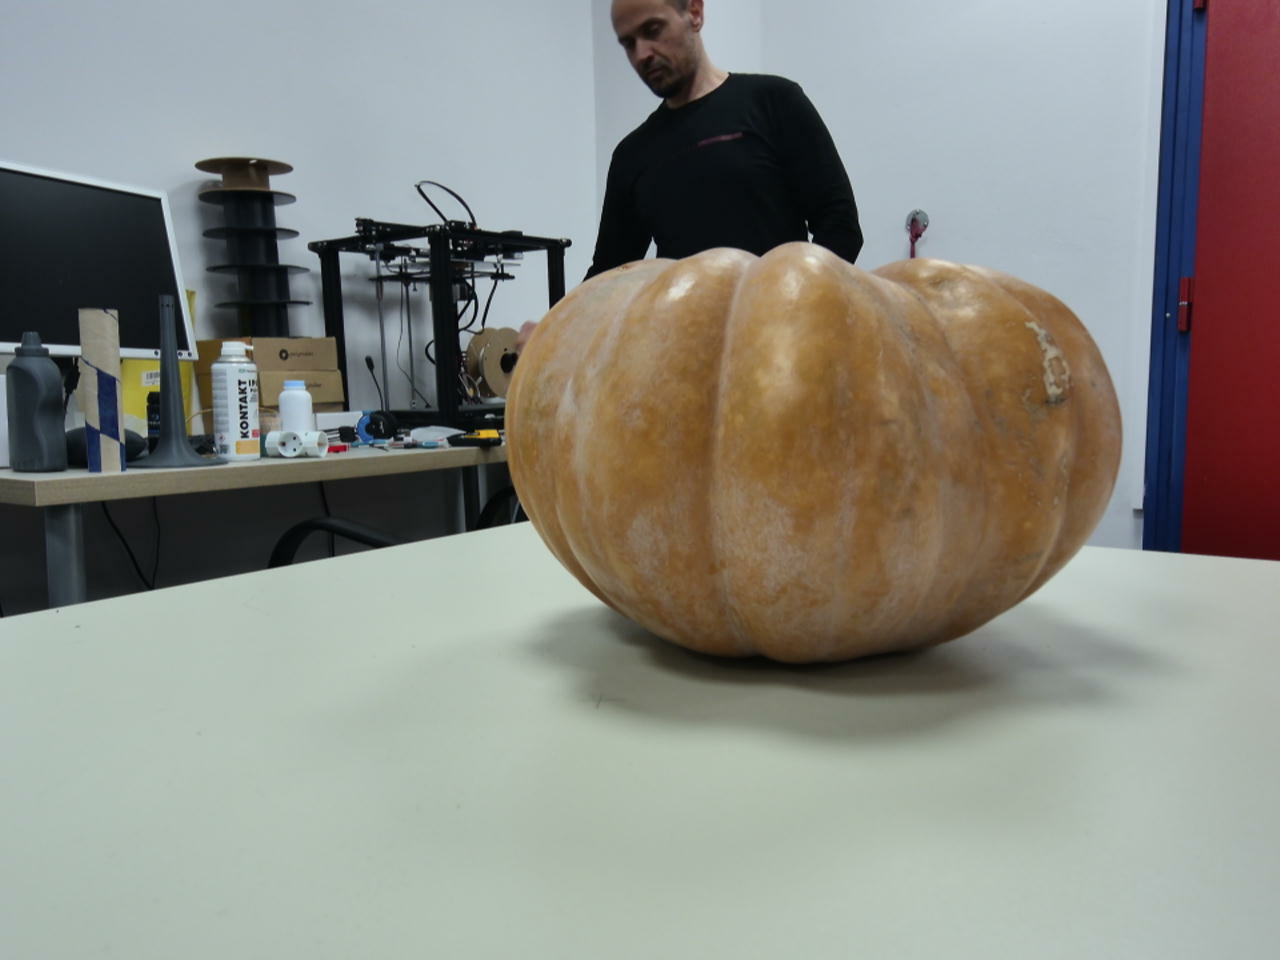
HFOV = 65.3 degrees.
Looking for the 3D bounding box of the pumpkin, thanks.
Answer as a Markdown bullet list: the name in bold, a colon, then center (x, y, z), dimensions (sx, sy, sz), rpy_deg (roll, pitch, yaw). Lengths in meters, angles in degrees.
- **pumpkin**: center (0.071, -0.016, 0.467), dimensions (0.277, 0.181, 0.277), rpy_deg (0, 3, 0)
